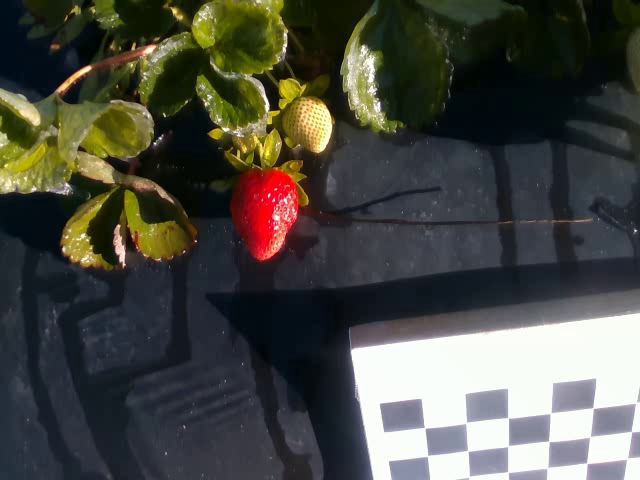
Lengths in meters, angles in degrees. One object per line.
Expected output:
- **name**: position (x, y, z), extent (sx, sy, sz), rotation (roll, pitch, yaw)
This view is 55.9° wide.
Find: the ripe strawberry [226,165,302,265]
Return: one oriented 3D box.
- **ripe strawberry**: position (-0.021, -0.007, 0.241), extent (0.039, 0.039, 0.040), rotation (-11, -33, 17)
